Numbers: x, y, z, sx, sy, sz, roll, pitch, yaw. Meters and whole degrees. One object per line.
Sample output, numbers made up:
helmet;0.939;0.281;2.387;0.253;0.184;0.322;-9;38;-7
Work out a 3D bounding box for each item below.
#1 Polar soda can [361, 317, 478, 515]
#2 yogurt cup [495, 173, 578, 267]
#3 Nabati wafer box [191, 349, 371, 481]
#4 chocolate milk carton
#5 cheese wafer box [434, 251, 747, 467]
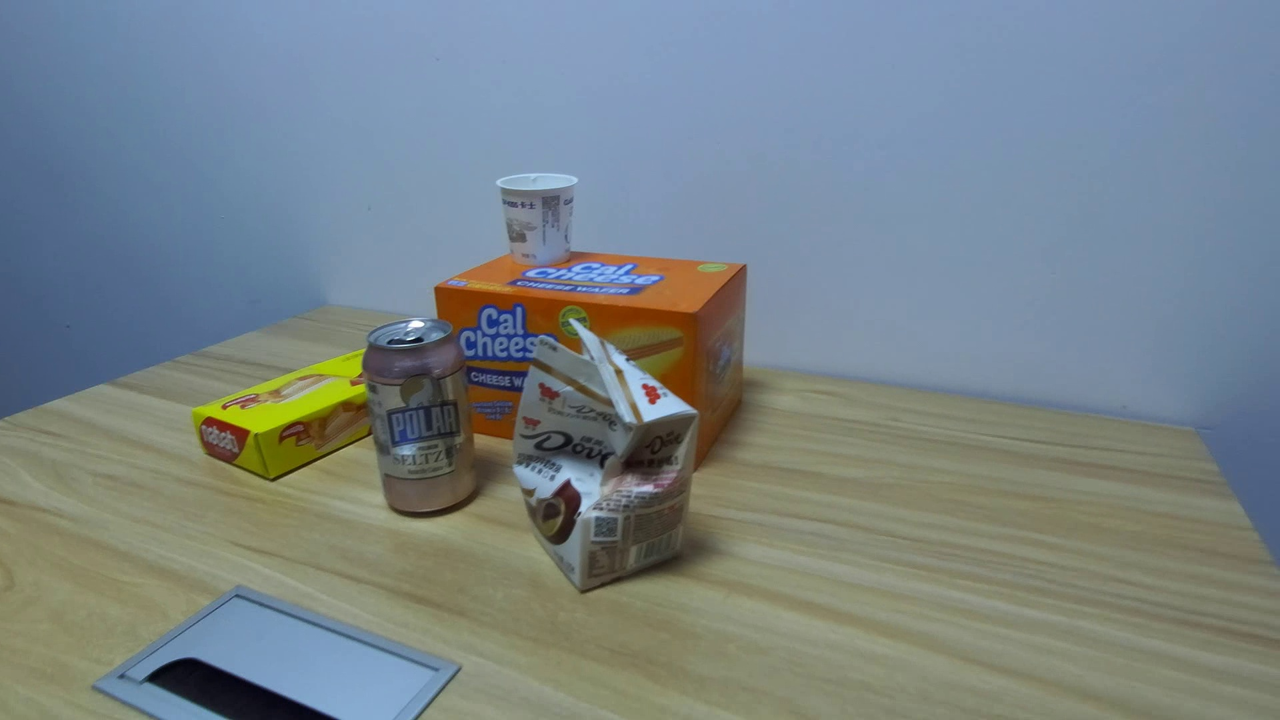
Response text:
Polar soda can;-0.150;0.039;0.487;0.067;0.125;0.067;0;20;0
yogurt cup;-0.088;-0.122;0.616;0.072;0.068;0.072;1;23;0
Nabati wafer box;-0.262;0.034;0.617;0.096;0.042;0.204;10;22;32
chocolate milk carton;-0.022;0.055;0.412;0.077;0.155;0.089;-19;41;-29
cheese wafer box;-0.034;-0.011;0.601;0.221;0.129;0.148;8;24;21
